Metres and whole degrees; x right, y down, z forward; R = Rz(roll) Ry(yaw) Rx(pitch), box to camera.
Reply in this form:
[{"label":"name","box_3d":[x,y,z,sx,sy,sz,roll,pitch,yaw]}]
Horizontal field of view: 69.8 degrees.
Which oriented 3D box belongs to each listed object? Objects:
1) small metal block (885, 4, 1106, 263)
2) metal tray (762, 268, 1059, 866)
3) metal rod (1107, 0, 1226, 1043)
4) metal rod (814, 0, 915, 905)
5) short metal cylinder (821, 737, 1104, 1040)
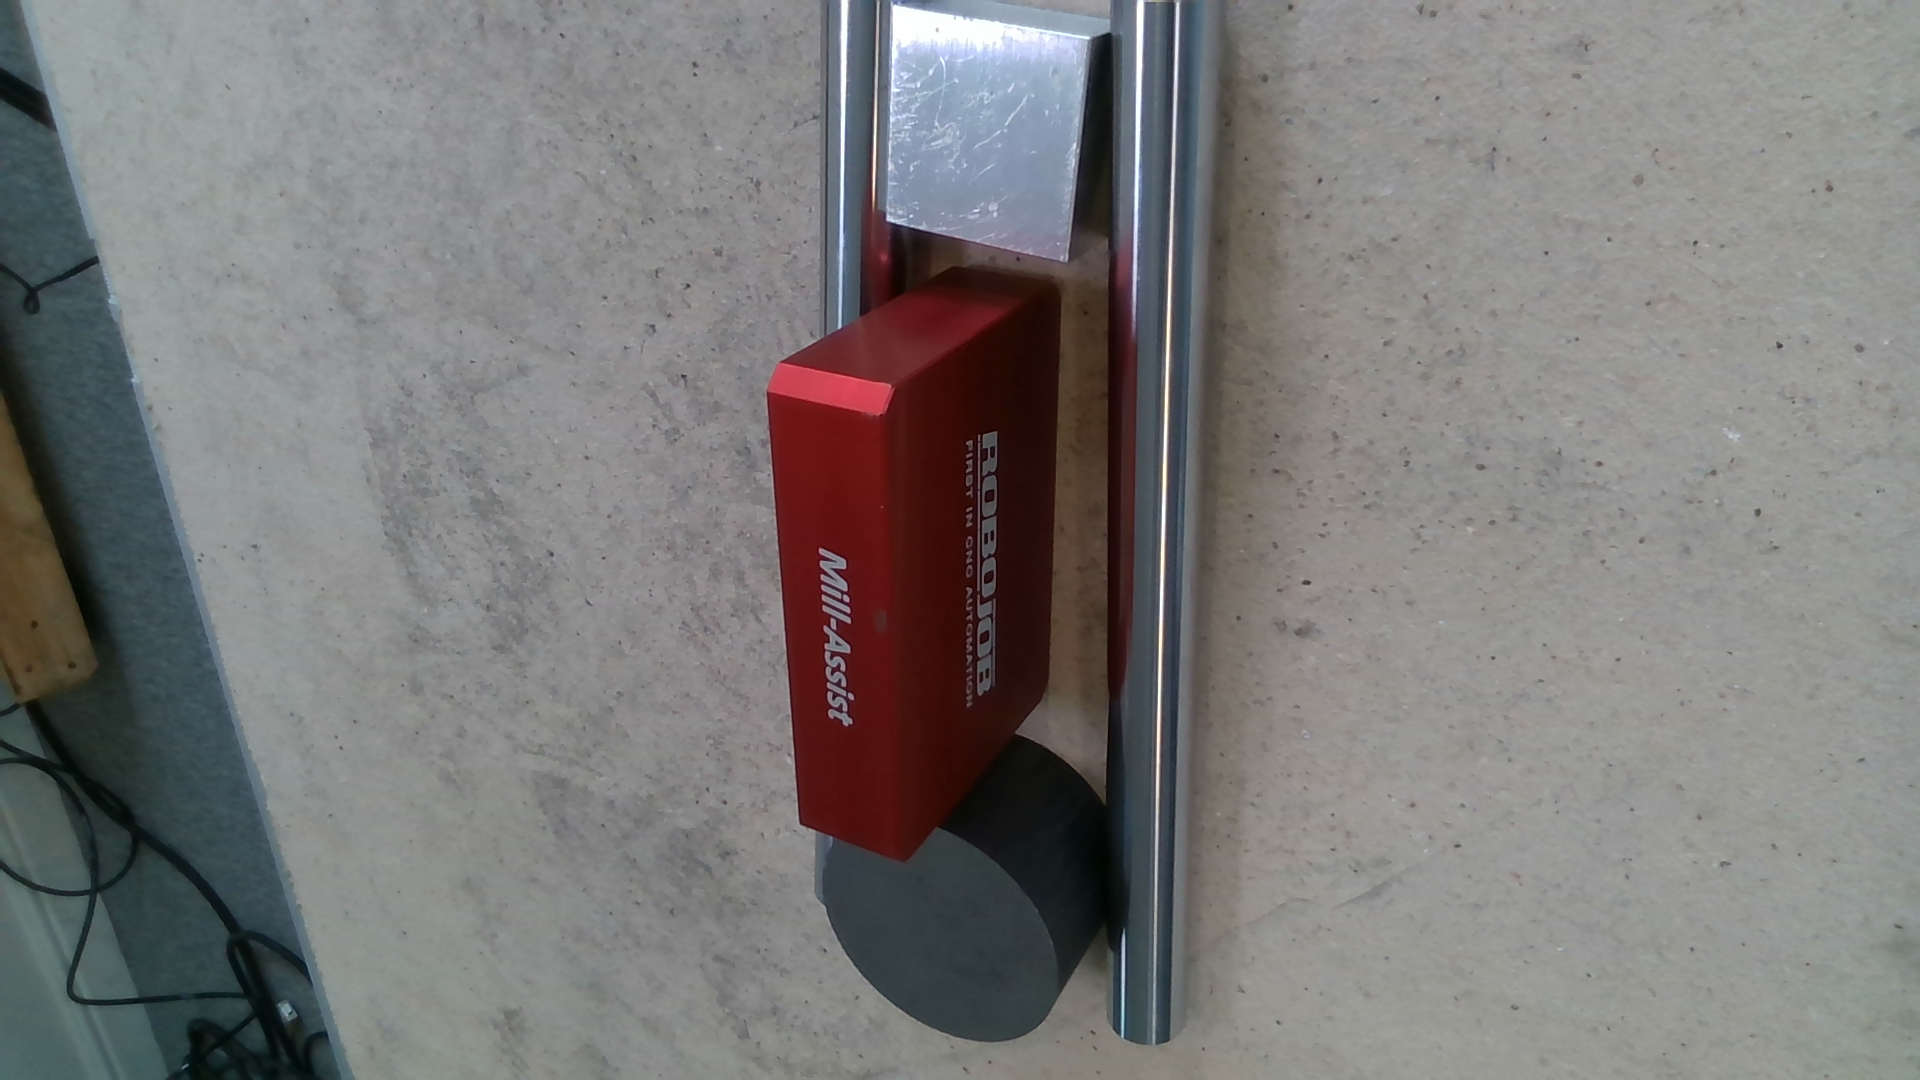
[{"label":"small metal block","box_3d":[0.011,-0.099,0.329,0.050,0.025,0.050,18,123,23]},{"label":"metal tray","box_3d":[-0.009,0.005,0.354,0.030,0.090,0.130,14,121,25]},{"label":"metal rod","box_3d":[0.052,0.016,0.366,0.025,0.025,0.301,12,121,26]},{"label":"metal rod","box_3d":[-0.029,-0.009,0.403,0.025,0.025,0.301,18,123,23]},{"label":"short metal cylinder","box_3d":[0.004,0.106,0.428,0.080,0.050,0.080,15,122,25]}]
